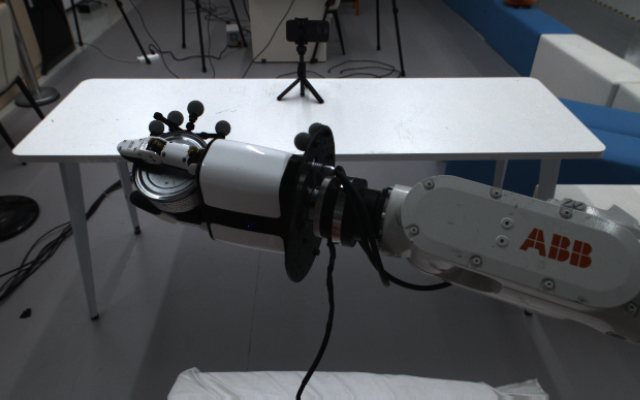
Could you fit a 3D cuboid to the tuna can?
[{"bbox_3d":[-0.154,-0.030,0.524,0.085,0.034,0.085,-3,61,6],"label":"tuna can"}]
